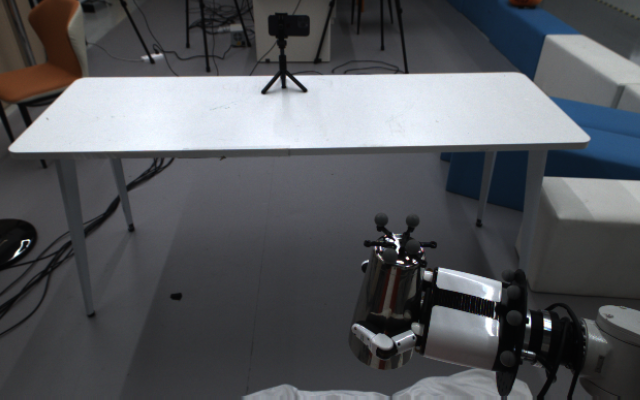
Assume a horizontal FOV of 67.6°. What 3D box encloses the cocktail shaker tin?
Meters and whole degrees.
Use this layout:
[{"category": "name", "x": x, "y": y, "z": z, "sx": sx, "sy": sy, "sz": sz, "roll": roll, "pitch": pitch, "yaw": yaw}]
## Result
[{"category": "cocktail shaker tin", "x": 0.094, "y": 0.129, "z": 0.635, "sx": 0.093, "sy": 0.170, "sz": 0.093, "roll": 3, "pitch": 34, "yaw": -2}]
